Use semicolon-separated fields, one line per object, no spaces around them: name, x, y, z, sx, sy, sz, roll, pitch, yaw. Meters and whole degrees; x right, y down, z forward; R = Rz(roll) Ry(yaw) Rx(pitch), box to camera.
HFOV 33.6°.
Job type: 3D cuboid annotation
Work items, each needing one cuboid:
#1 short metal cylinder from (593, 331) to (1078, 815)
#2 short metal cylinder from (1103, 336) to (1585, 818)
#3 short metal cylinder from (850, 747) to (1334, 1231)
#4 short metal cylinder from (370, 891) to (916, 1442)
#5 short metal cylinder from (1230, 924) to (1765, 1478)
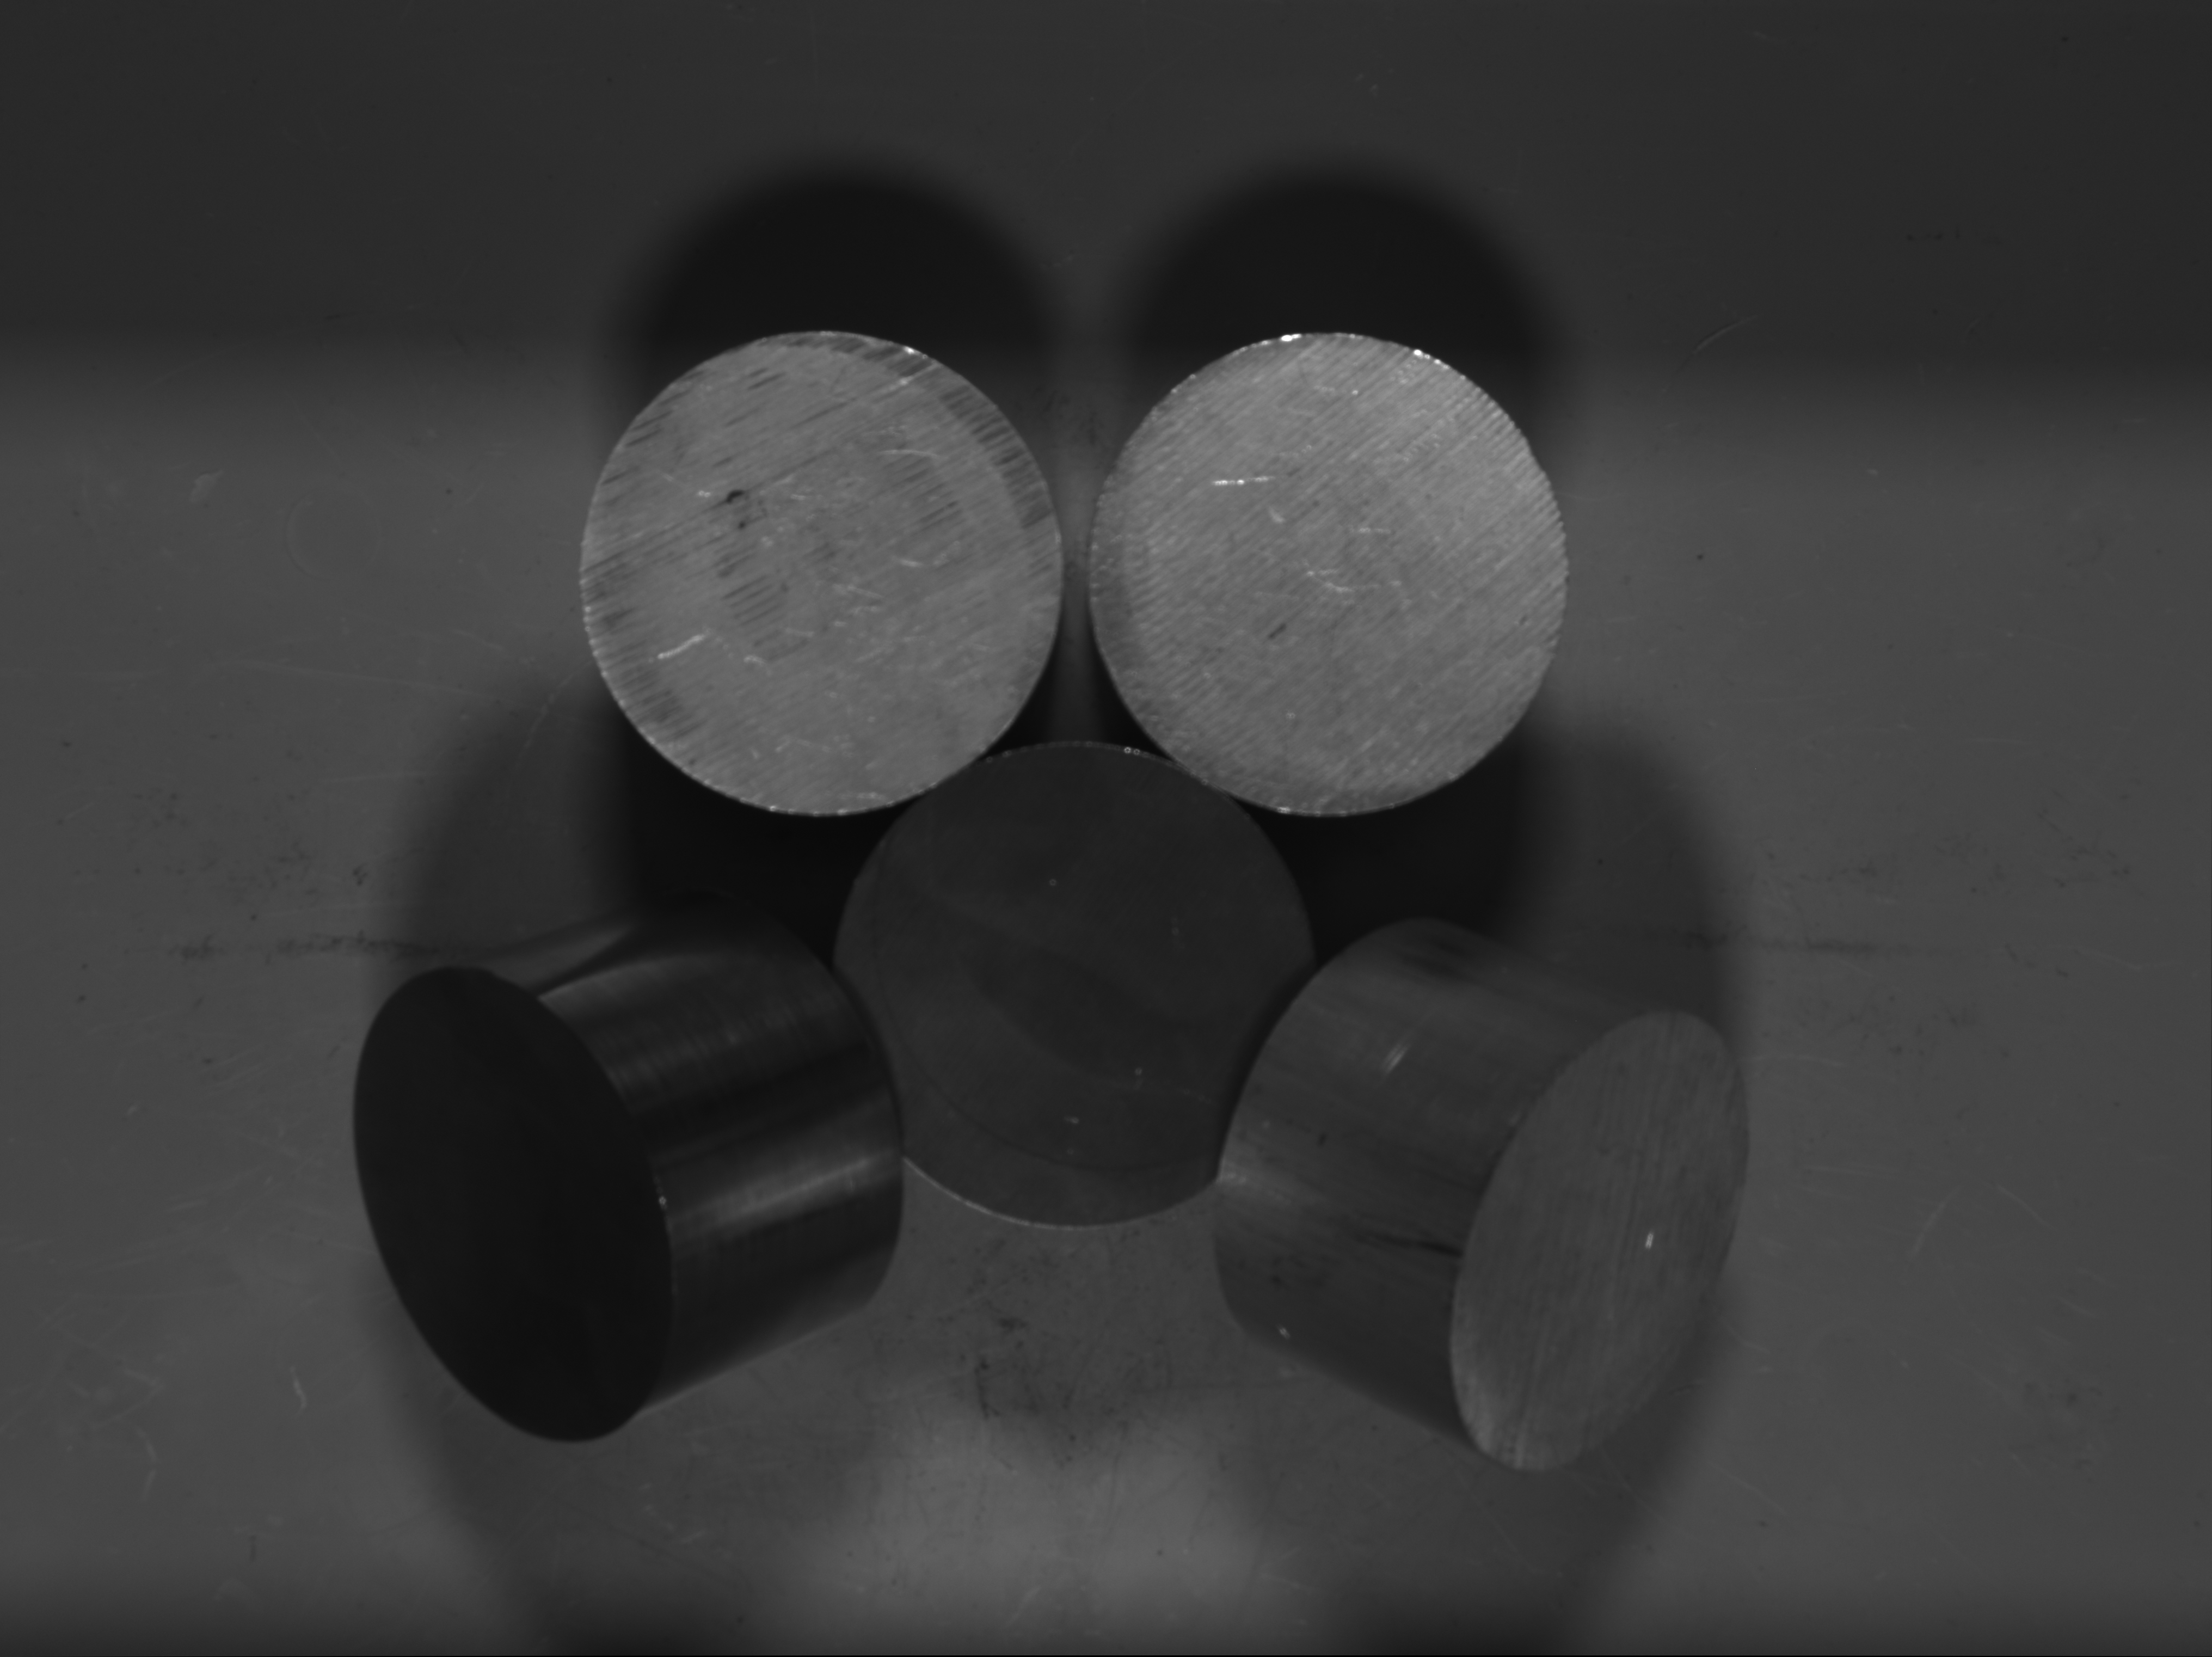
short metal cylinder;-0.045;-0.042;0.630;0.080;0.050;0.080;0;90;0
short metal cylinder;0.039;-0.042;0.632;0.080;0.050;0.080;0;90;0
short metal cylinder;-0.002;0.027;0.630;0.080;0.050;0.080;0;90;0
short metal cylinder;-0.078;0.055;0.610;0.050;0.080;0.080;-20;90;-45
short metal cylinder;0.066;0.061;0.611;0.050;0.080;0.080;20;90;39
